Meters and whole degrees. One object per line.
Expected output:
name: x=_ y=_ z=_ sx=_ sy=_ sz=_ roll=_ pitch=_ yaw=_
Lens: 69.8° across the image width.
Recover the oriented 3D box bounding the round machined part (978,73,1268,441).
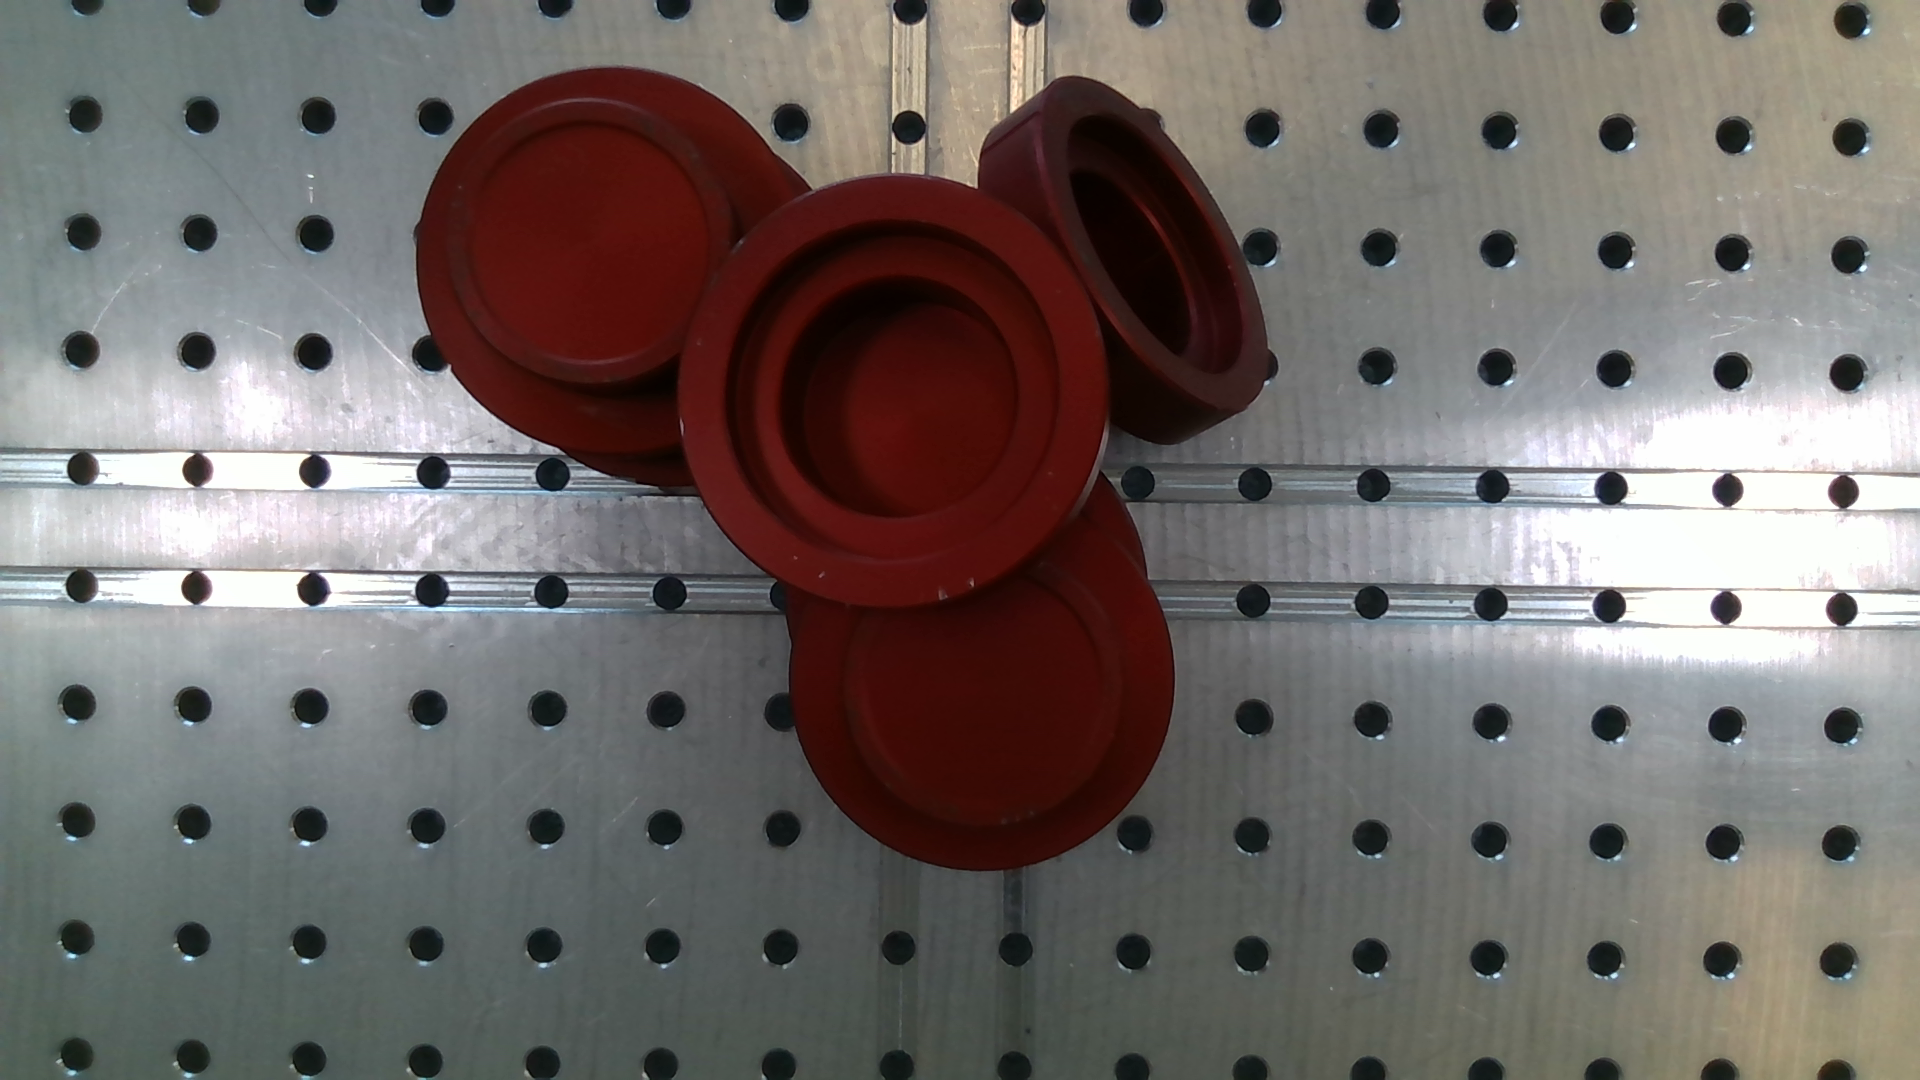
round machined part: x=0.038 y=-0.071 z=0.370 sx=0.042 sy=0.098 sz=0.098 roll=-28 pitch=90 yaw=35

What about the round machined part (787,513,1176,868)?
round machined part: x=0.006 y=0.034 z=0.346 sx=0.098 sy=0.042 sz=0.098 roll=0 pitch=90 yaw=-1

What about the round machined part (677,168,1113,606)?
round machined part: x=-0.013 y=-0.033 z=0.325 sx=0.098 sy=0.042 sz=0.098 roll=0 pitch=87 yaw=8

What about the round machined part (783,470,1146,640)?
round machined part: x=0.001 y=0.013 z=0.368 sx=0.098 sy=0.042 sz=0.098 roll=0 pitch=90 yaw=0

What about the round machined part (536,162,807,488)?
round machined part: x=-0.078 y=-0.064 z=0.368 sx=0.098 sy=0.042 sz=0.098 roll=0 pitch=90 yaw=0

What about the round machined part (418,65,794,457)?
round machined part: x=-0.088 y=-0.071 z=0.346 sx=0.098 sy=0.042 sz=0.098 roll=0 pitch=90 yaw=0
